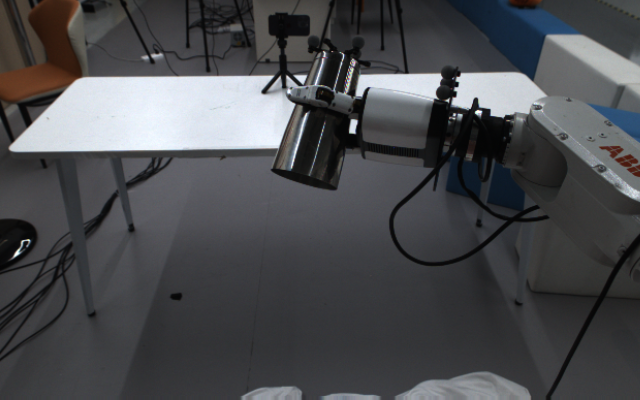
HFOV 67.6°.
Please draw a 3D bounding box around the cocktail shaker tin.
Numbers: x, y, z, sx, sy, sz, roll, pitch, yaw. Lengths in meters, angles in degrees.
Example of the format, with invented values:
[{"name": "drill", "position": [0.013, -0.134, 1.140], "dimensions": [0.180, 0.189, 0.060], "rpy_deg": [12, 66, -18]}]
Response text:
[{"name": "cocktail shaker tin", "position": [0.000, -0.109, 0.652], "dimensions": [0.093, 0.170, 0.093], "rpy_deg": [16, -7, 2]}]
